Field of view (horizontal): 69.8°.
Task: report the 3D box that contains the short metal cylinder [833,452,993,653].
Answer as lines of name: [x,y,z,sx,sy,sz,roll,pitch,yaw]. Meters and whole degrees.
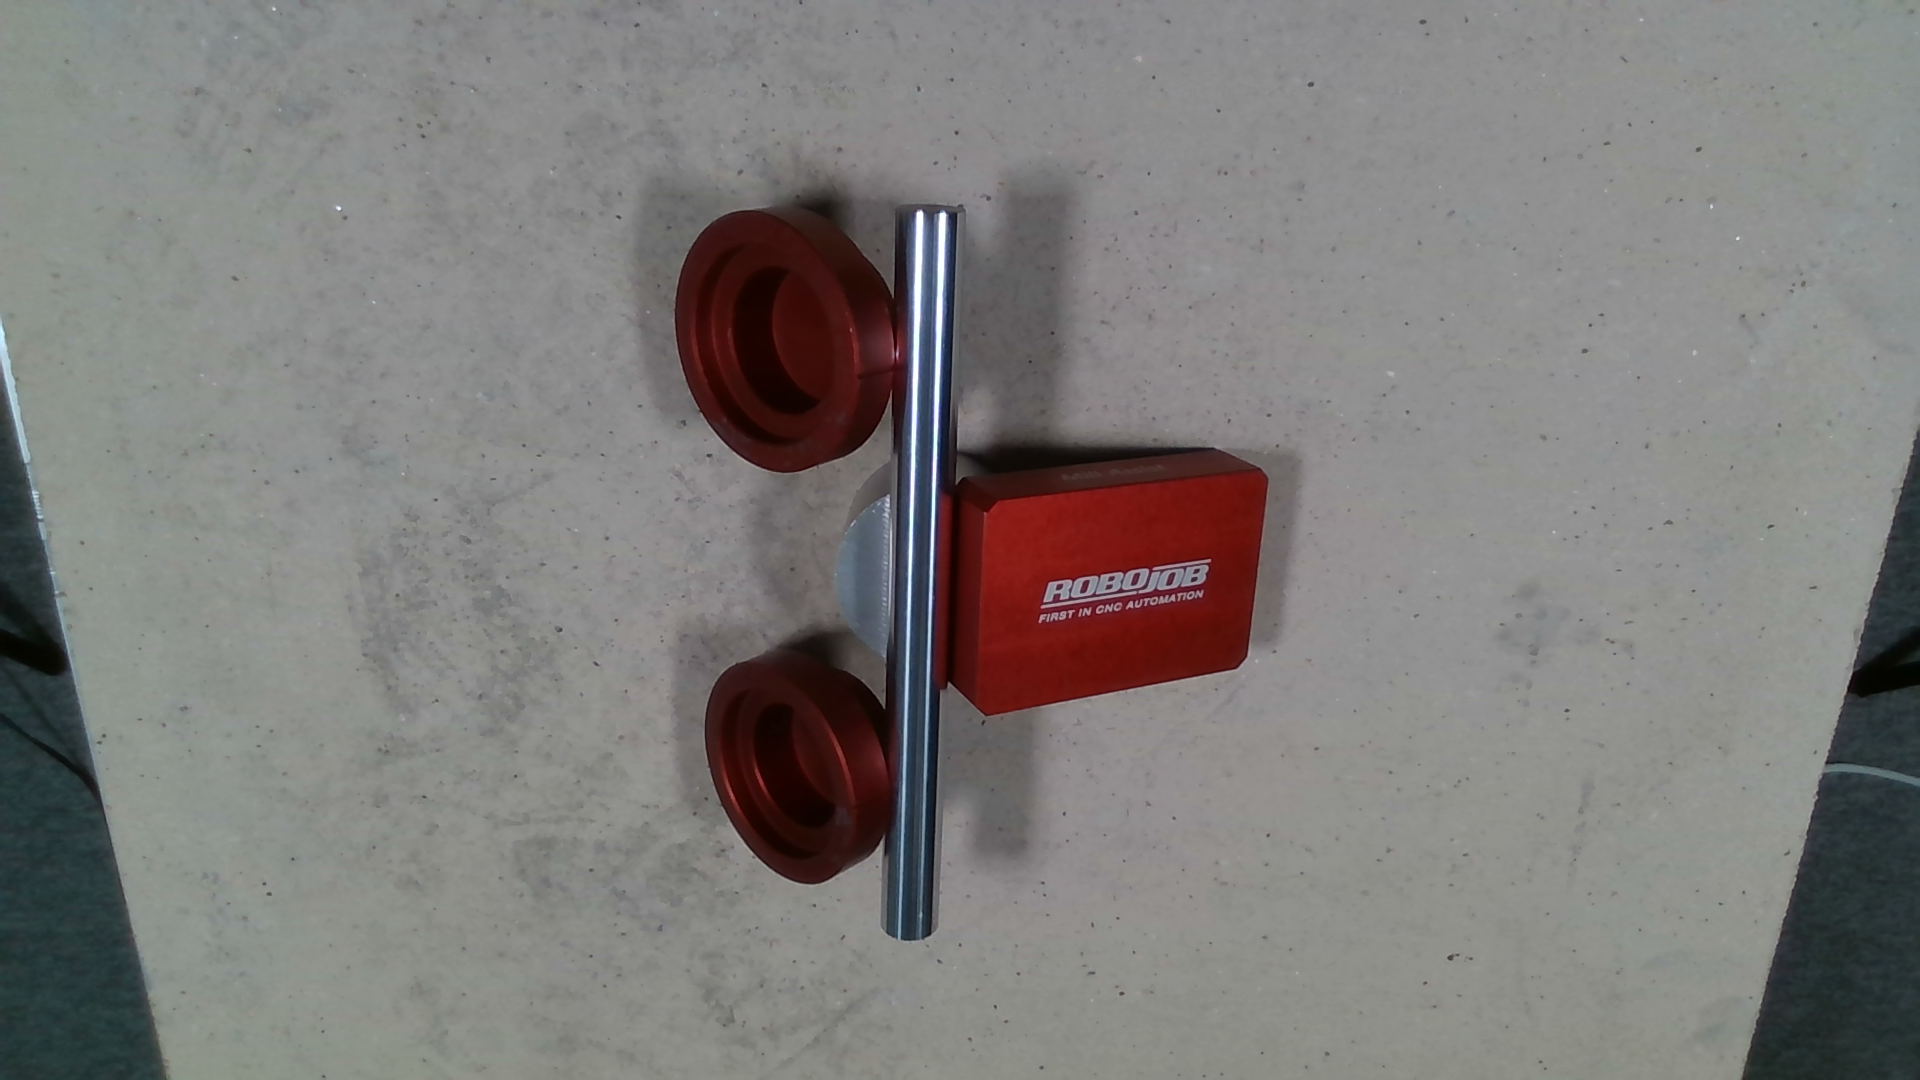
short metal cylinder: [-0.011,0.007,0.574,0.080,0.050,0.080,0,110,0]

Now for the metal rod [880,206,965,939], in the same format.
metal rod: [-0.016,0.023,0.541,0.025,0.025,0.301,2,110,-1]

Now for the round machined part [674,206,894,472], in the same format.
round machined part: [-0.062,-0.078,0.530,0.098,0.042,0.098,16,116,35]

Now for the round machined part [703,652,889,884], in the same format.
round machined part: [-0.064,0.094,0.592,0.098,0.042,0.098,17,116,40]

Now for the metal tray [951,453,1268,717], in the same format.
metal tray: [0.060,0.015,0.559,0.130,0.030,0.090,-8,112,-25]
